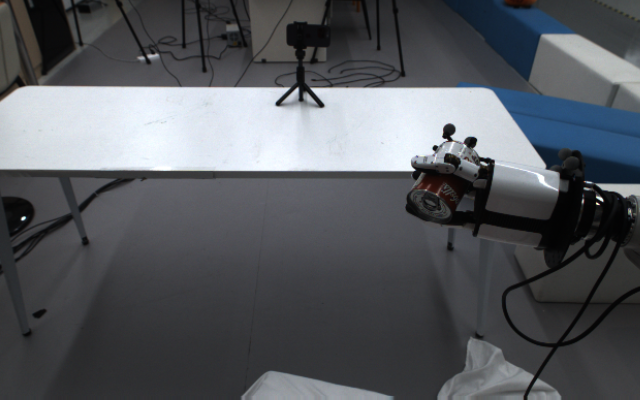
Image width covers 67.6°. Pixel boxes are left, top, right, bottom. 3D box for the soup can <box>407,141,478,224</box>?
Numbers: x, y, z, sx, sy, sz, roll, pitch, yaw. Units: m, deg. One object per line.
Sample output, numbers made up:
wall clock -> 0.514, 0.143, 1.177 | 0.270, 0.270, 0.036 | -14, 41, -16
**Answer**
soup can -> 0.177, -0.028, 0.681 | 0.067, 0.067, 0.101 | 22, 61, 26
